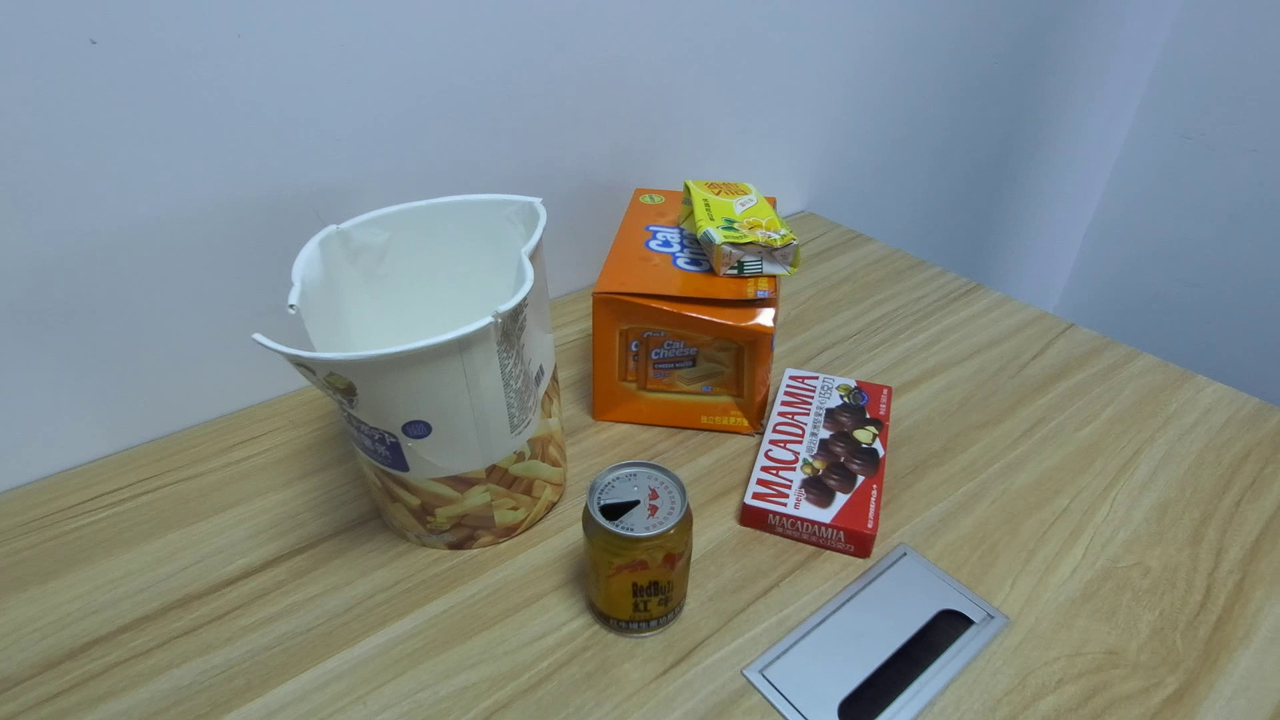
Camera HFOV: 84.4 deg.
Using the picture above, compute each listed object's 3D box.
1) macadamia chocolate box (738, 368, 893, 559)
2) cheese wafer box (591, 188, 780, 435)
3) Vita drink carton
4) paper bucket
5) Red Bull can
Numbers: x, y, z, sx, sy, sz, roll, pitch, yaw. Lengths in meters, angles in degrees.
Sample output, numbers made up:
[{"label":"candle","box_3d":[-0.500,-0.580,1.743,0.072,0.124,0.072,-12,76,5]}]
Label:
[{"label":"macadamia chocolate box","box_3d":[0.145,0.072,0.561,0.095,0.027,0.178,12,37,16]},{"label":"cheese wafer box","box_3d":[0.048,-0.055,0.648,0.149,0.137,0.227,7,35,6]},{"label":"Vita drink carton","box_3d":[0.079,-0.106,0.582,0.087,0.042,0.108,0,37,-16]},{"label":"paper bucket","box_3d":[-0.131,0.013,0.492,0.146,0.197,0.202,-4,35,-3]},{"label":"Red Bull can","box_3d":[-0.001,0.116,0.438,0.068,0.093,0.068,-1,35,1]}]
